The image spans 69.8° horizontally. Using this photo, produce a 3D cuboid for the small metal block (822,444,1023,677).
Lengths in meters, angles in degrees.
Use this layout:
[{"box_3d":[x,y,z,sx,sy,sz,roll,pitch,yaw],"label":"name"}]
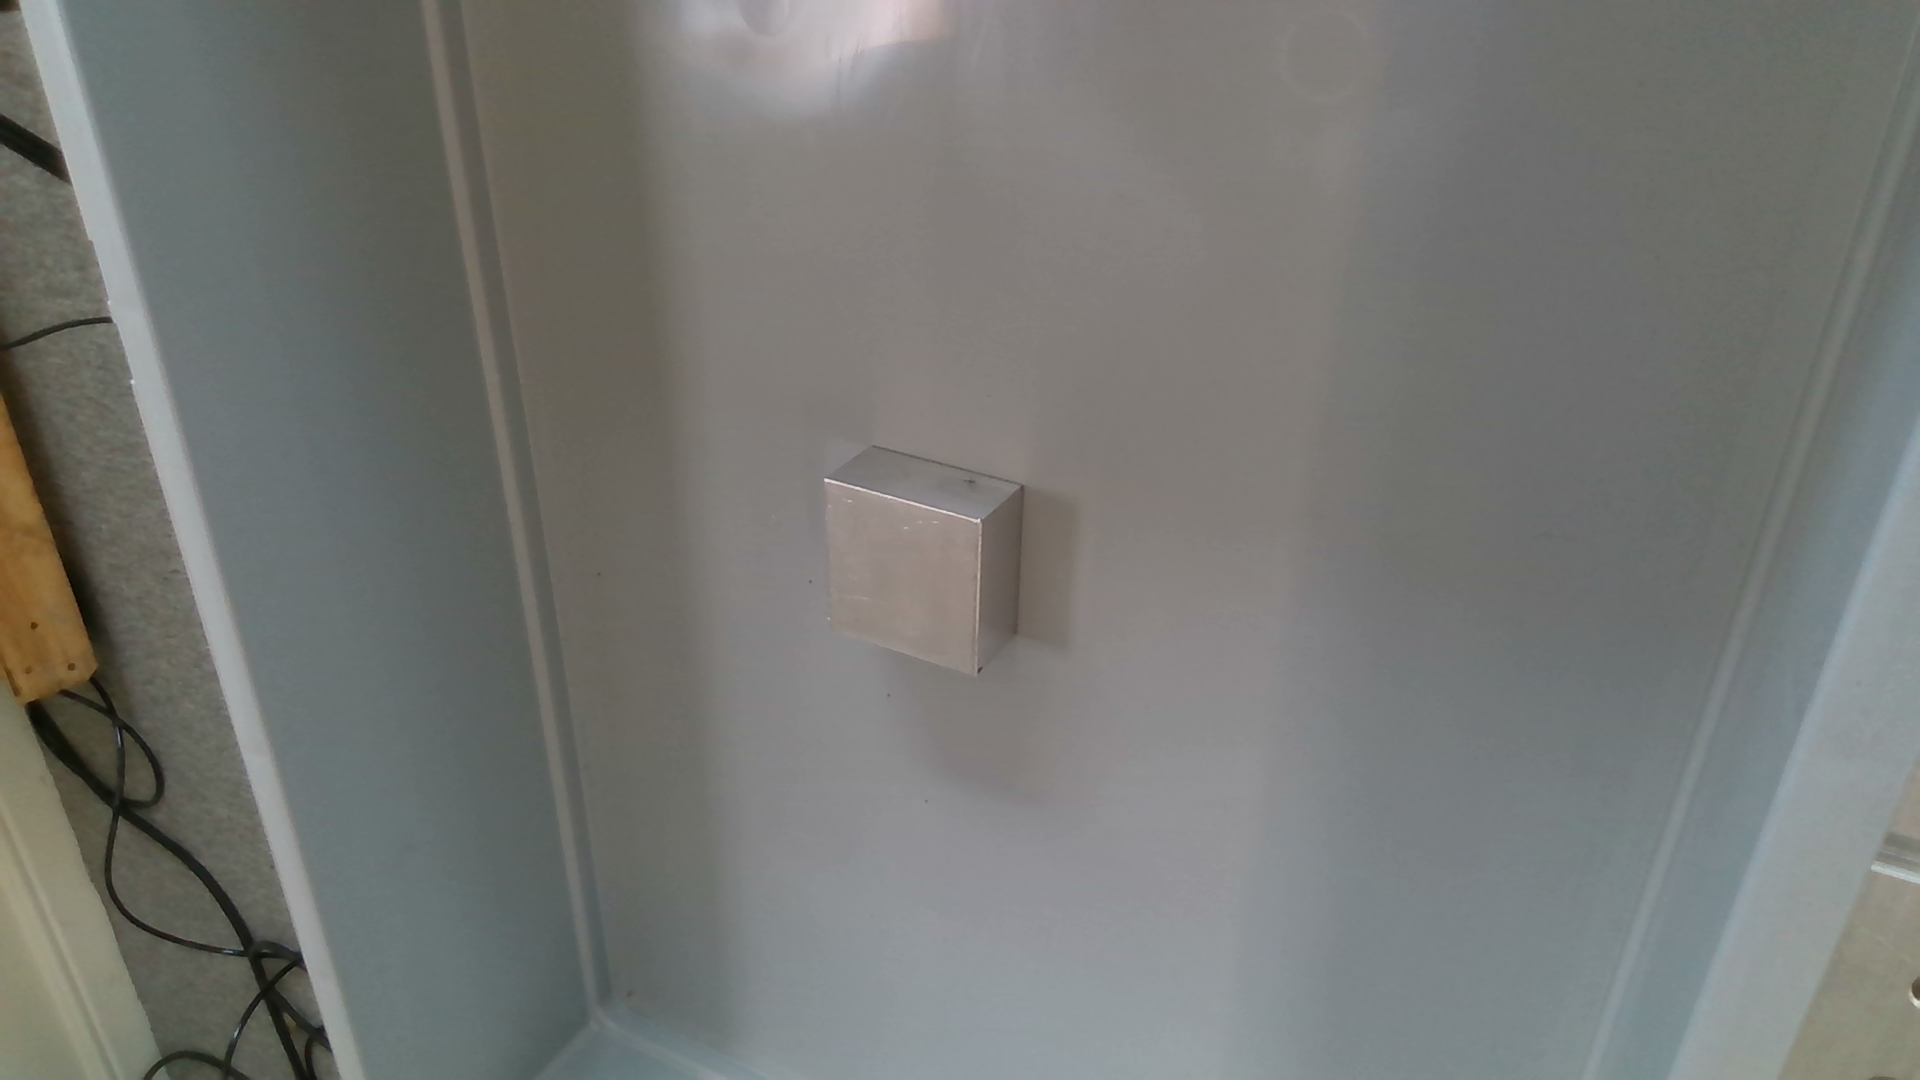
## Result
[{"box_3d":[-0.011,0.005,0.394,0.050,0.025,0.050,16,122,24],"label":"small metal block"}]
